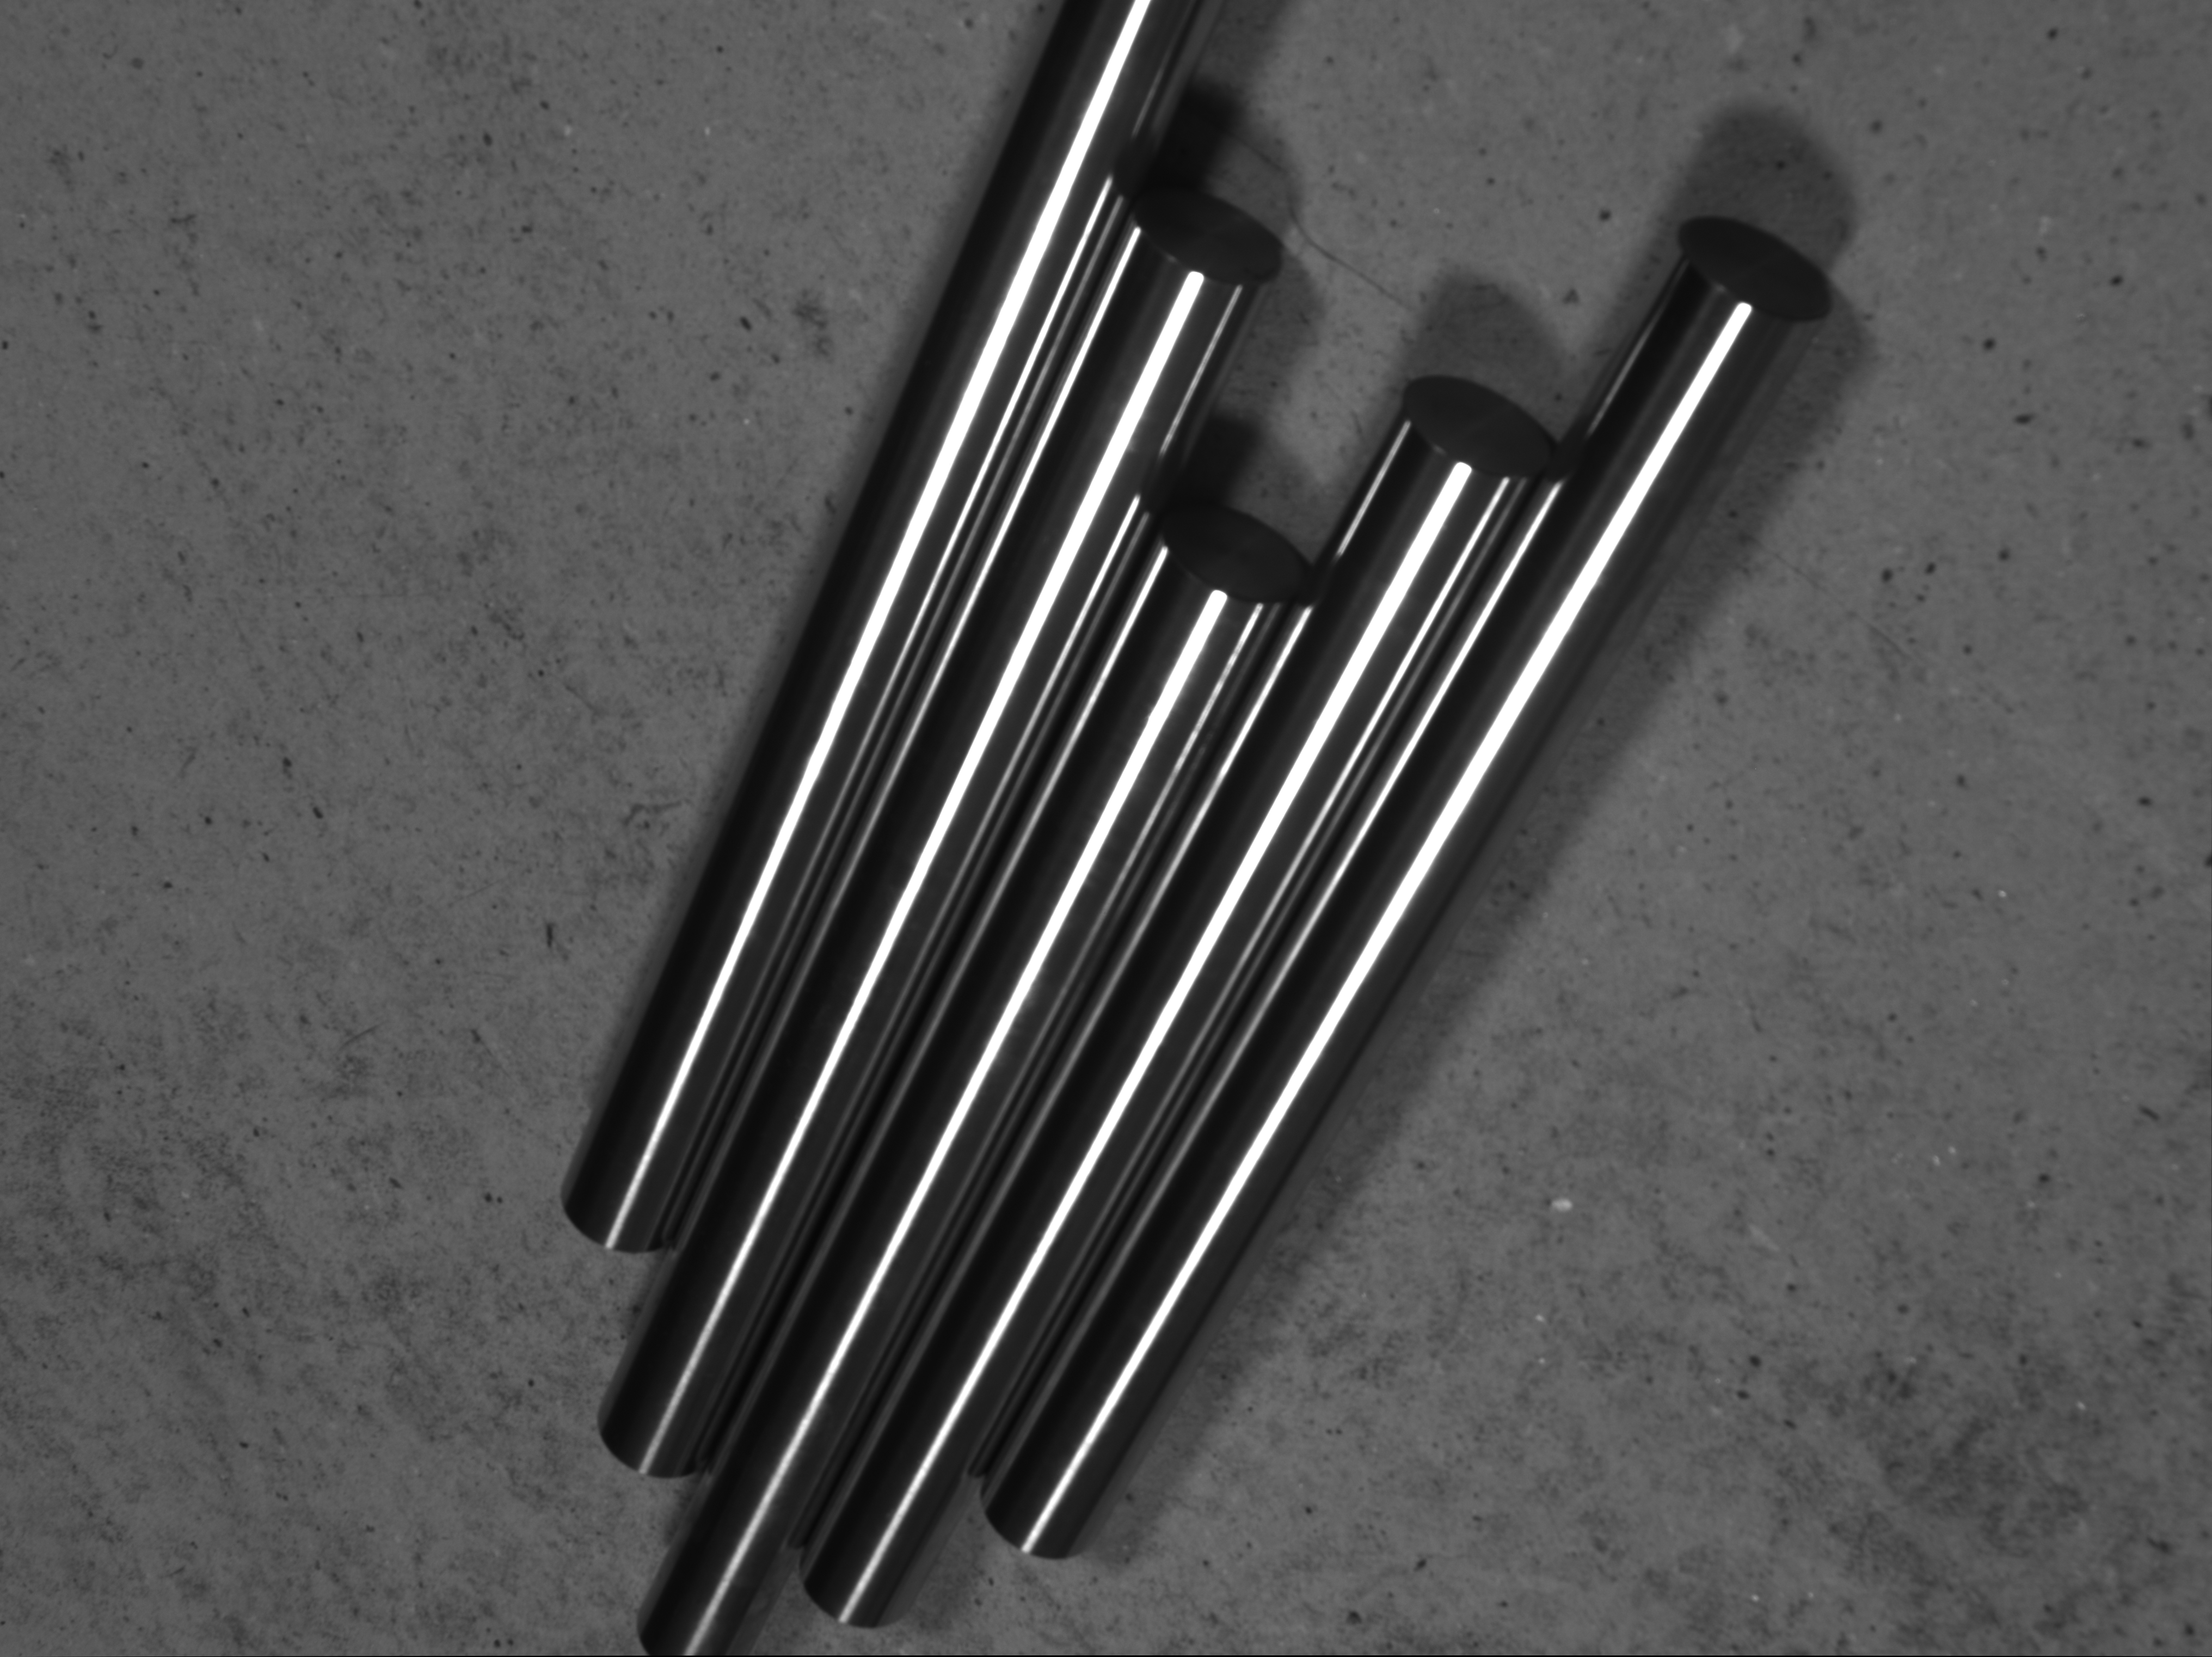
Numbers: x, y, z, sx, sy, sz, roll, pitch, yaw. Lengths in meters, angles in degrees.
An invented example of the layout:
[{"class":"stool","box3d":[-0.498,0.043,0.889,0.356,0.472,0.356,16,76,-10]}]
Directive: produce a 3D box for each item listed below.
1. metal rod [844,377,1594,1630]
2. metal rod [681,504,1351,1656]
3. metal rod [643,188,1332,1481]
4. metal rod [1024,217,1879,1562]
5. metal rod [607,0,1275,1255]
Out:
[{"class":"metal rod","box3d":[0.011,0.045,0.653,0.025,0.025,0.300,31,128,7]},{"class":"metal rod","box3d":[-0.025,0.063,0.681,0.025,0.025,0.300,31,128,7]},{"class":"metal rod","box3d":[-0.030,0.016,0.656,0.025,0.025,0.300,31,128,7]},{"class":"metal rod","box3d":[0.048,0.026,0.622,0.025,0.025,0.300,31,128,7]},{"class":"metal rod","box3d":[-0.033,-0.033,0.628,0.025,0.025,0.300,31,128,7]}]
